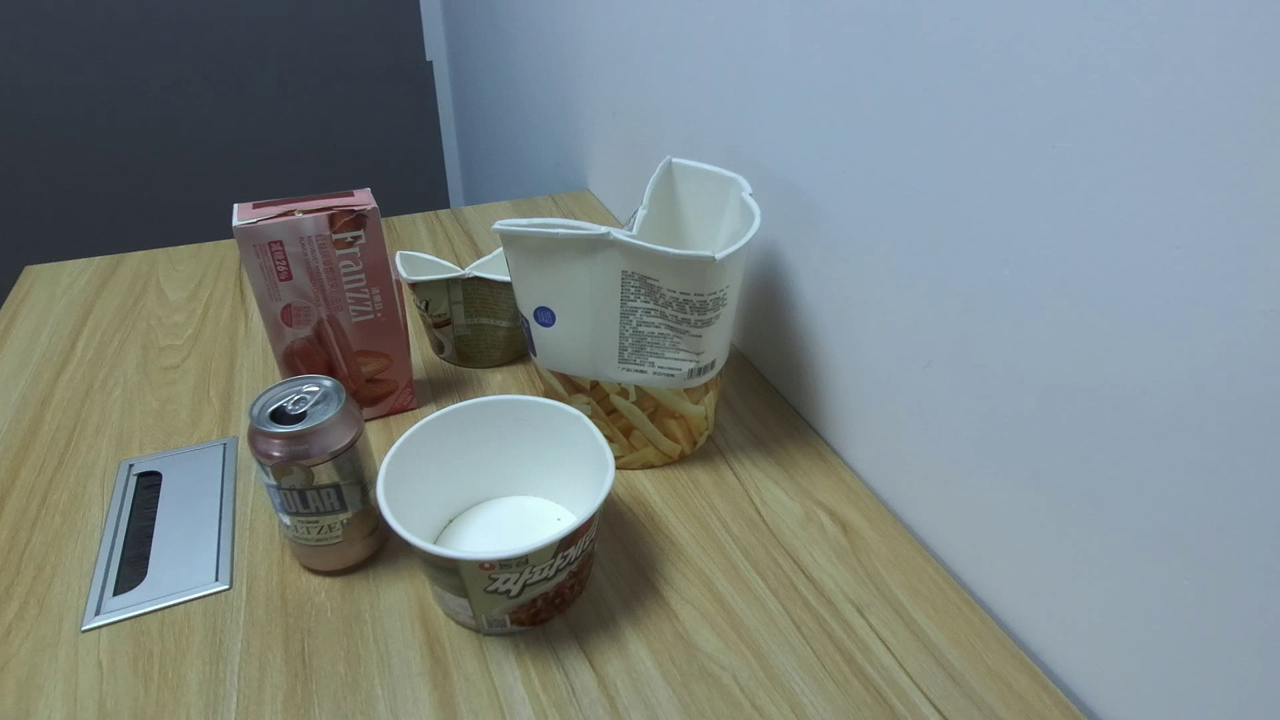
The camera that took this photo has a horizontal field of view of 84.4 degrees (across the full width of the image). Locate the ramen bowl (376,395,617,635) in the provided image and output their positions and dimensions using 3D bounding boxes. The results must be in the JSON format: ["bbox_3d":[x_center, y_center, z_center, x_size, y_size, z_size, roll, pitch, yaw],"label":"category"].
[{"bbox_3d":[-0.086,0.102,0.452,0.140,0.095,0.140,0,34,0],"label":"ramen bowl"}]

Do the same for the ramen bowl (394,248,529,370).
[{"bbox_3d":[-0.158,-0.061,0.679,0.128,0.093,0.111,0,35,-1],"label":"ramen bowl"}]

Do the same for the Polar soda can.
[{"bbox_3d":[-0.205,0.075,0.456,0.067,0.126,0.067,0,35,0],"label":"Polar soda can"}]

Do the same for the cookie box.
[{"bbox_3d":[-0.239,-0.038,0.558,0.105,0.188,0.048,-15,38,-23],"label":"cookie box"}]

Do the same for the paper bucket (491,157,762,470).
[{"bbox_3d":[0.000,-0.040,0.562,0.169,0.202,0.163,12,36,11],"label":"paper bucket"}]
